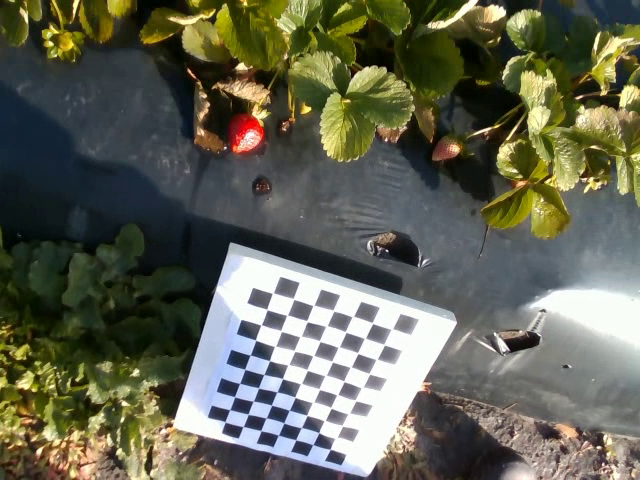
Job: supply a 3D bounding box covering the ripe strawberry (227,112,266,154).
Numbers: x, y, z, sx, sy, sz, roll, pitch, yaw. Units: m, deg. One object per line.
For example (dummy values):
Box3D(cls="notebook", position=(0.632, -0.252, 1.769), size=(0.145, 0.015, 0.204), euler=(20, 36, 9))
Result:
Box3D(cls="ripe strawberry", position=(-0.075, -0.093, 0.561), size=(0.046, 0.054, 0.037), euler=(37, -23, -17))
